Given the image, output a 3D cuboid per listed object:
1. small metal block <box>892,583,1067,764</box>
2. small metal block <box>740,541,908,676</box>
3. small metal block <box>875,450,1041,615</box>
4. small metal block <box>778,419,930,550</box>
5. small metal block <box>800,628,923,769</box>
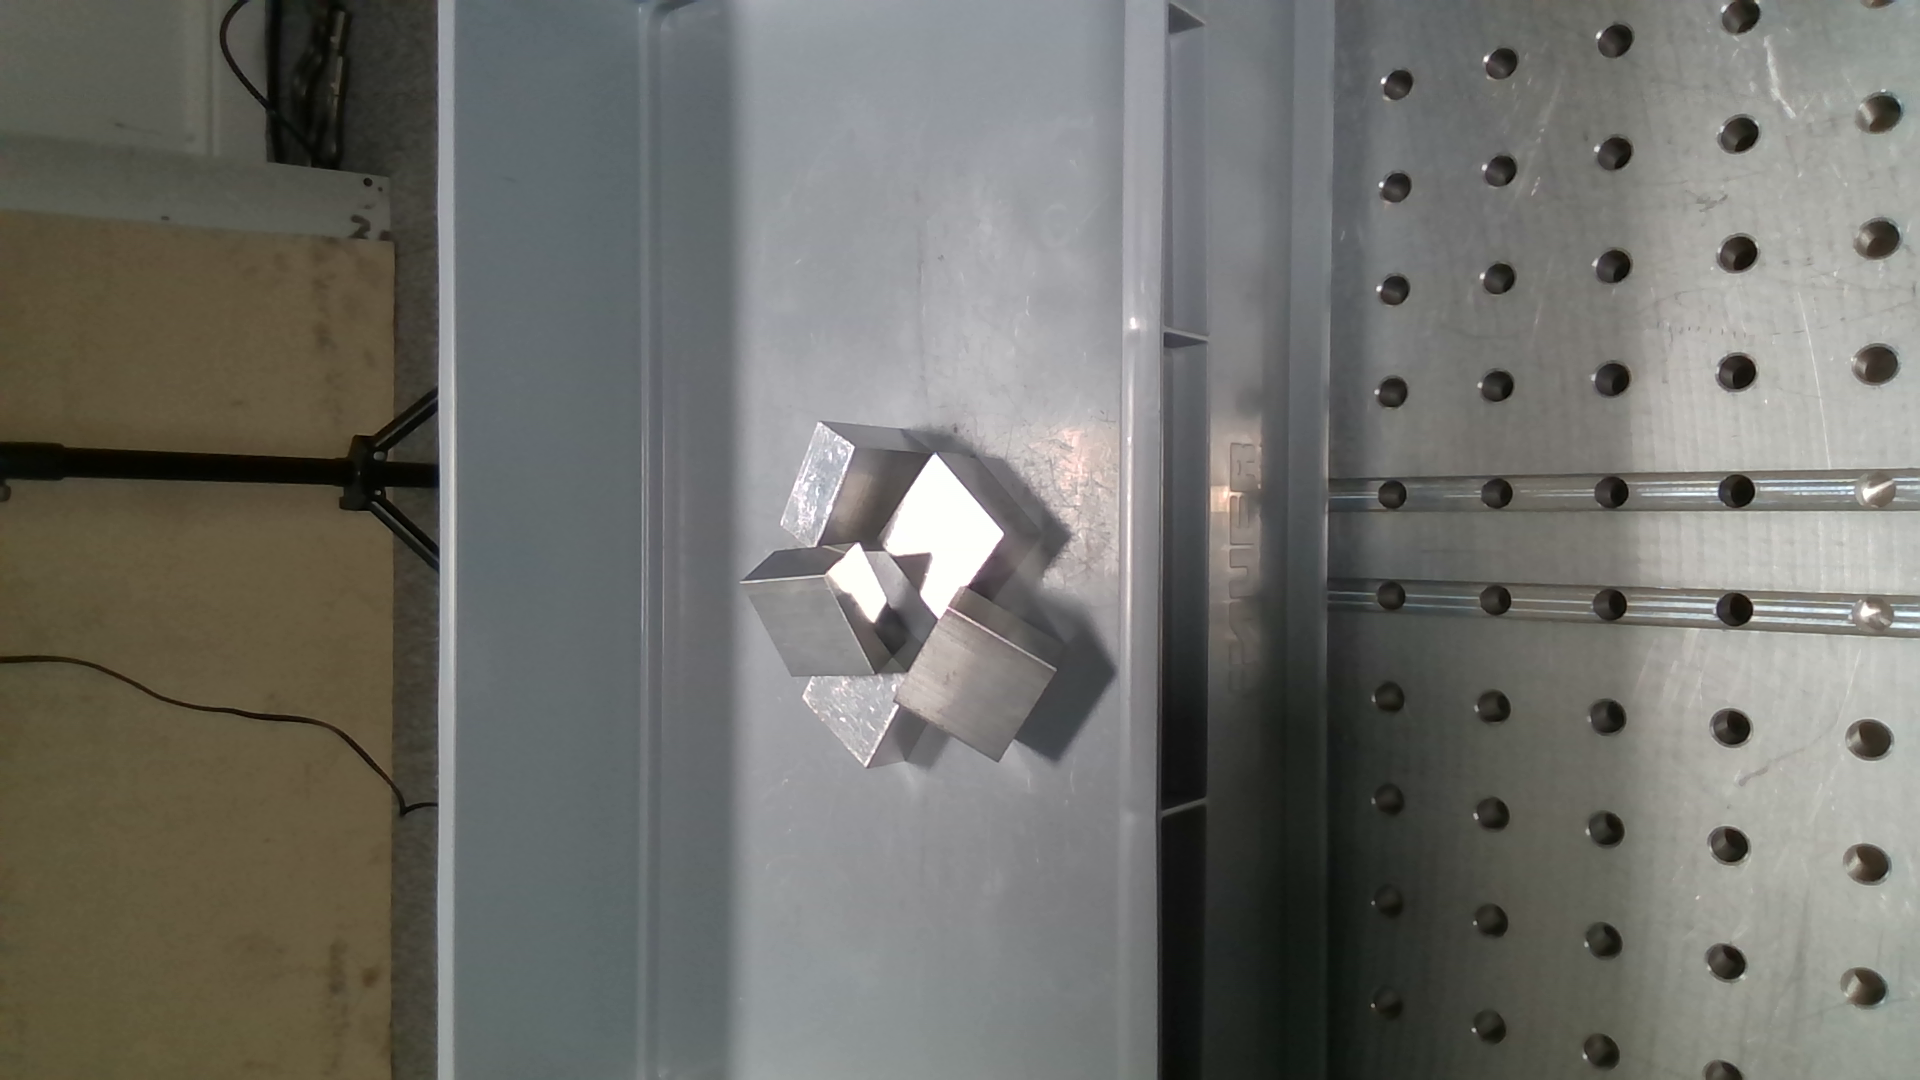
[{"bbox_3d":[0.008,0.054,0.560,0.050,0.025,0.050,30,113,1],"label":"small metal block"},{"bbox_3d":[-0.057,0.030,0.582,0.050,0.025,0.050,-5,119,40],"label":"small metal block"},{"bbox_3d":[-0.002,-0.002,0.581,0.050,0.025,0.050,51,120,28],"label":"small metal block"},{"bbox_3d":[-0.045,-0.023,0.601,0.025,0.050,0.050,36,113,34],"label":"small metal block"},{"bbox_3d":[-0.038,0.065,0.613,0.050,0.025,0.050,43,116,32],"label":"small metal block"}]
